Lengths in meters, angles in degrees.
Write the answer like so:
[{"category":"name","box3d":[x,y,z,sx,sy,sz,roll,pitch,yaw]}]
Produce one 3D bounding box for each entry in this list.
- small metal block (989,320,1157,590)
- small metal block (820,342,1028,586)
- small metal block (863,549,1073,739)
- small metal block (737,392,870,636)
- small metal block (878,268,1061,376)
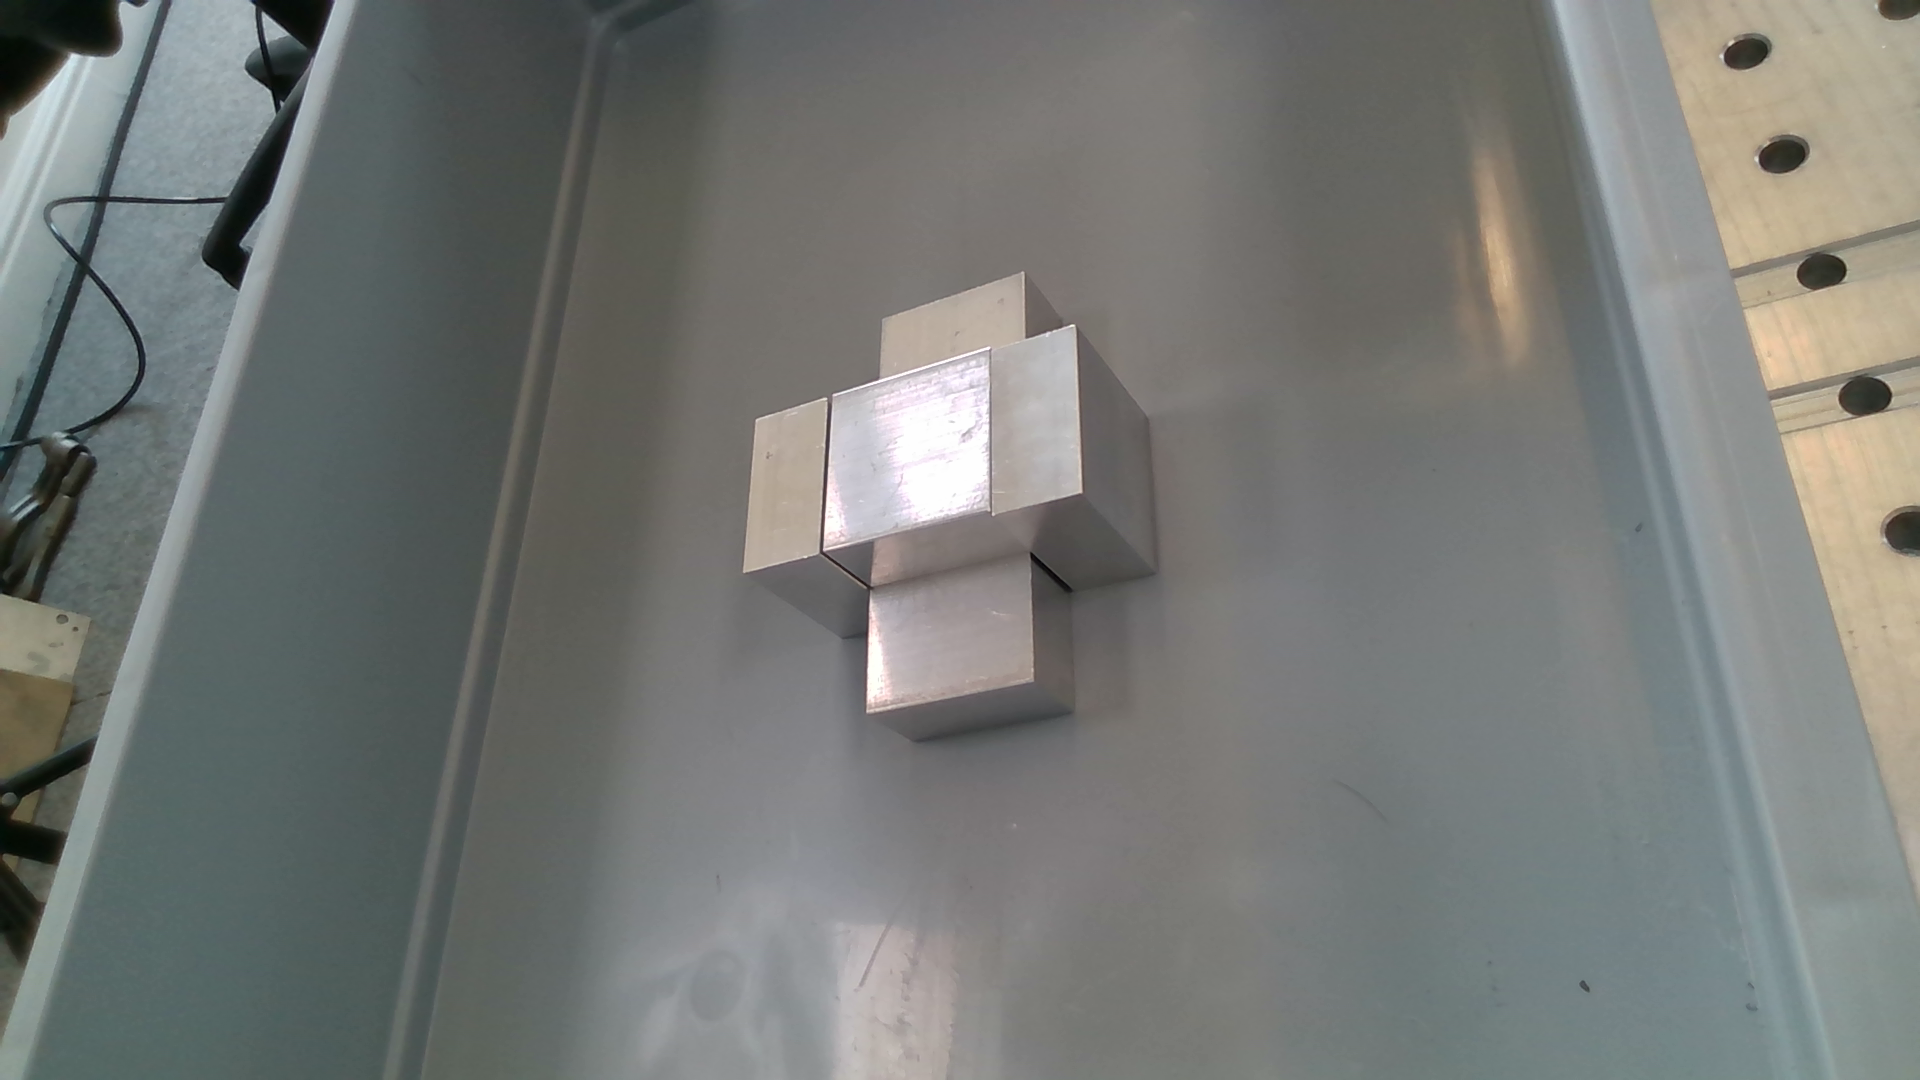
[{"category":"small metal block","box3d":[0.030,-0.021,0.367,0.025,0.050,0.050,-14,59,25]},{"category":"small metal block","box3d":[-0.009,-0.020,0.374,0.050,0.025,0.050,-14,59,25]},{"category":"small metal block","box3d":[0.002,0.023,0.378,0.050,0.025,0.050,-14,59,25]},{"category":"small metal block","box3d":[-0.037,-0.006,0.400,0.025,0.050,0.050,-14,59,25]},{"category":"small metal block","box3d":[0.003,-0.047,0.414,0.050,0.025,0.050,-14,59,25]}]
